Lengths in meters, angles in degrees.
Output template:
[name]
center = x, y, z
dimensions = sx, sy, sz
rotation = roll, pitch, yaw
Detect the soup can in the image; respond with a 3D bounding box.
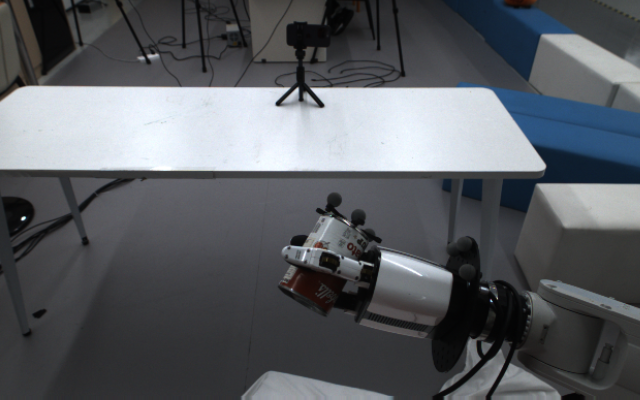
[soup can]
center = 0.007, 0.075, 0.566
dimensions = 0.067, 0.067, 0.101
rotation = 23, 72, 27
